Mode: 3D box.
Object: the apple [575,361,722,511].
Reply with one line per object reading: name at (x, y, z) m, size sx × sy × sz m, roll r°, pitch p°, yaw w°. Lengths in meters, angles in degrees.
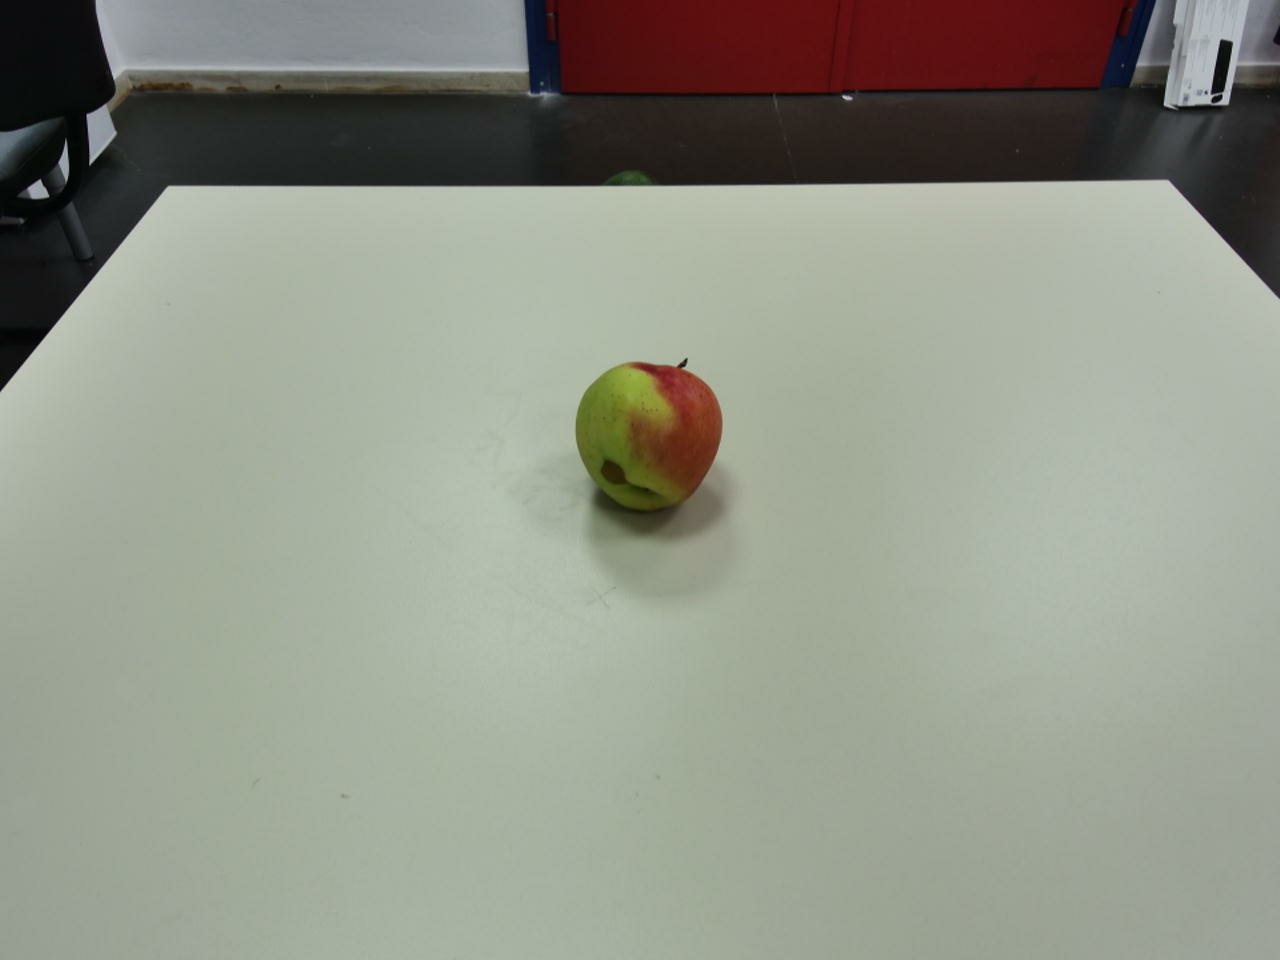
apple at (0.005, -0.023, 0.505) m, size 0.075 × 0.074 × 0.075 m, roll -12°, pitch 40°, yaw -15°
